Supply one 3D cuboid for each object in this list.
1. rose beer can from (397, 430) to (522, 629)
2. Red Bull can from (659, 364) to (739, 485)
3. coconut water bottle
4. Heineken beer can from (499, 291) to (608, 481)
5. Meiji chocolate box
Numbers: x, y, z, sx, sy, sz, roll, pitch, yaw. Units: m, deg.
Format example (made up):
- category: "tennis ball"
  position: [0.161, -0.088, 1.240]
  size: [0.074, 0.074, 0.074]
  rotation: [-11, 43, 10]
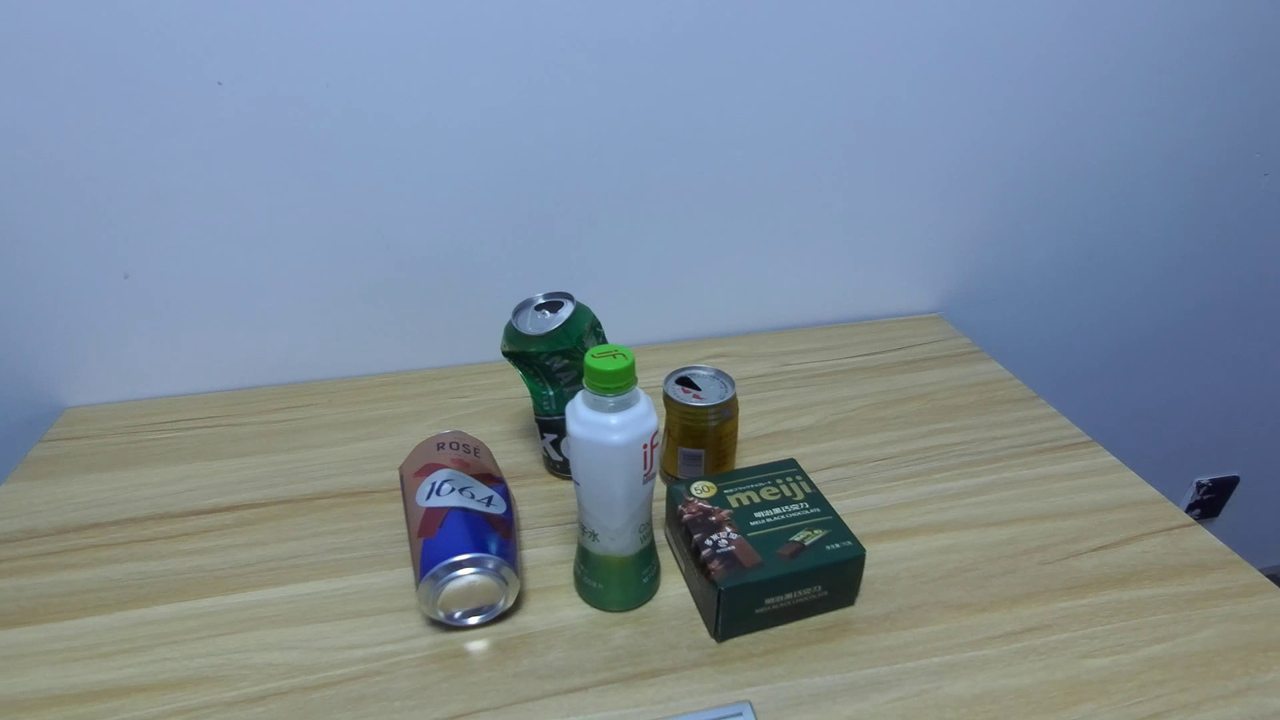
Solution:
- category: "rose beer can"
  position: [-0.134, 0.117, 0.529]
  size: [0.070, 0.069, 0.167]
  rotation: [-27, 34, -4]
- category: "Red Bull can"
  position: [0.048, 0.058, 0.591]
  size: [0.069, 0.092, 0.069]
  rotation: [0, 31, 0]
- category: "coconut water bottle"
  position: [-0.017, 0.079, 0.468]
  size: [0.063, 0.189, 0.063]
  rotation: [0, 30, 1]
- category: "Heineken beer can"
  position: [-0.057, 0.024, 0.594]
  size: [0.079, 0.159, 0.067]
  rotation: [-25, 34, -25]
- category: "Meiji chocolate box"
  position: [0.086, 0.132, 0.512]
  size: [0.110, 0.056, 0.109]
  rotation: [-9, 32, -14]
